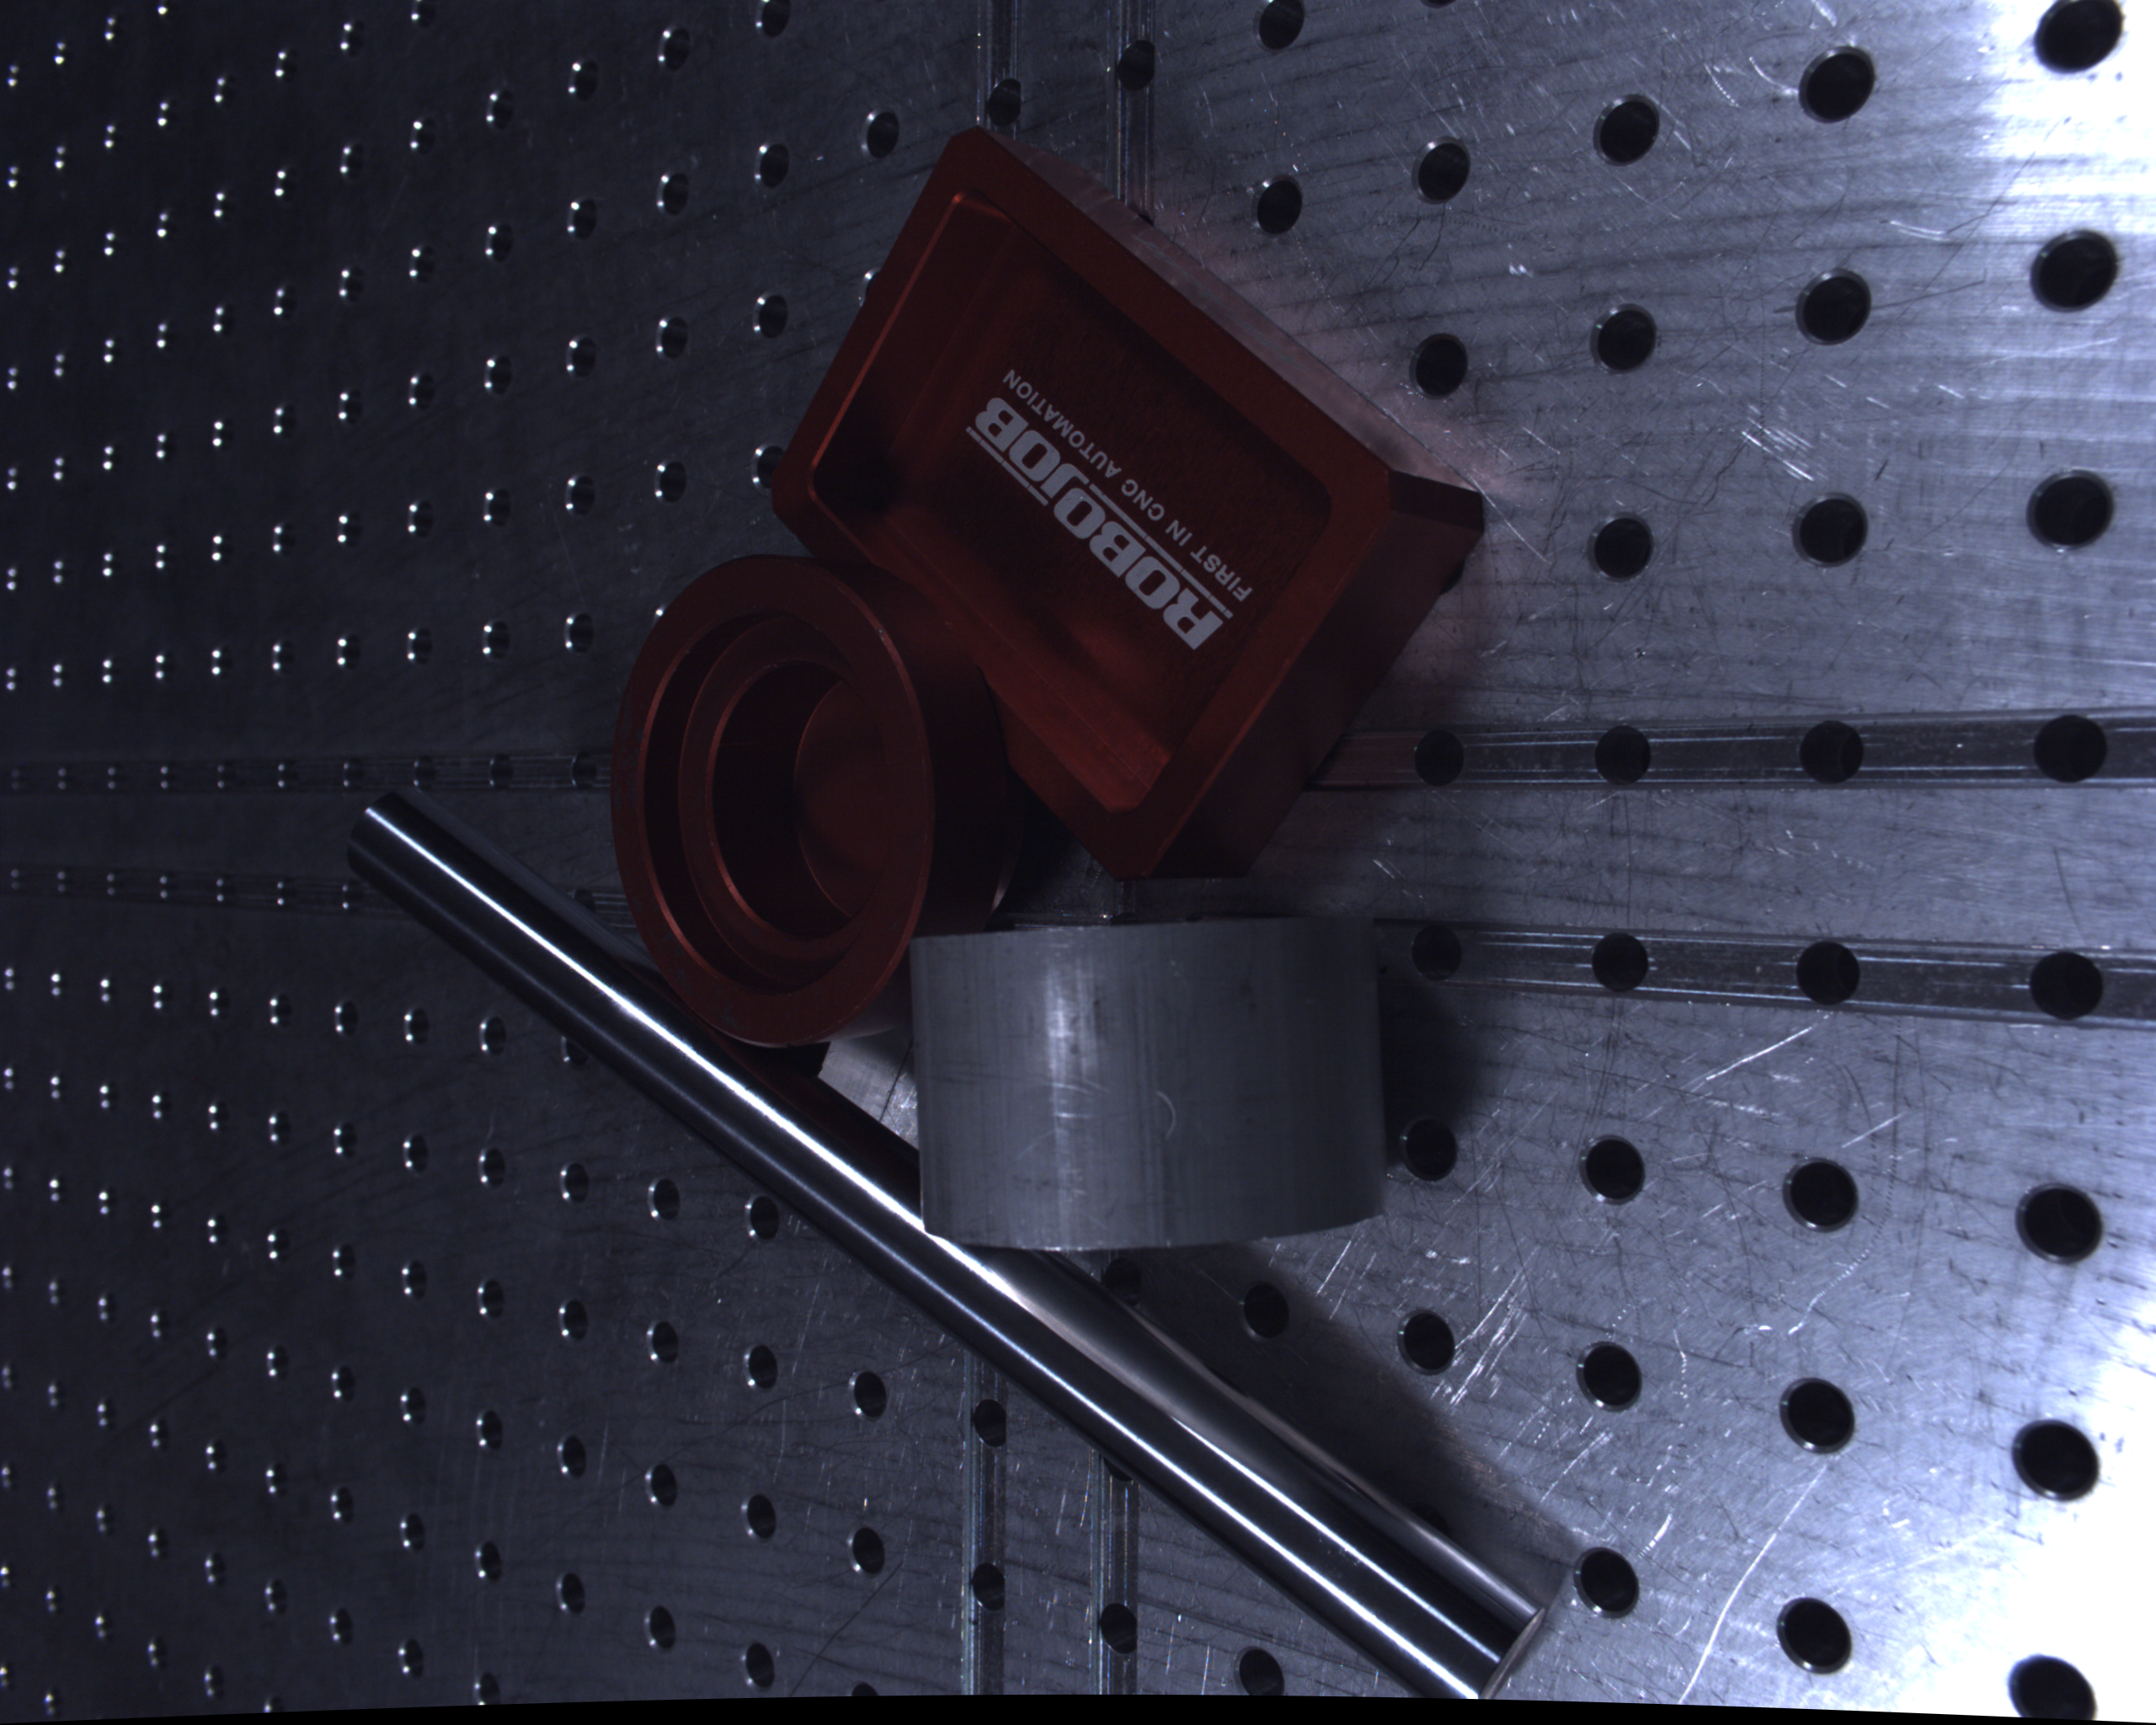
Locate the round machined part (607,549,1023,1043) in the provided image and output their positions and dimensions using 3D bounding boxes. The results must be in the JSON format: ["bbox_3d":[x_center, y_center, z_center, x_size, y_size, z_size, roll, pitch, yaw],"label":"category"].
[{"bbox_3d":[-0.050,-0.013,0.427,0.098,0.042,0.097,0,90,41],"label":"round machined part"}]

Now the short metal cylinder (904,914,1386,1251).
[{"bbox_3d":[0.011,0.036,0.361,0.080,0.081,0.050,-5,87,39],"label":"short metal cylinder"}]

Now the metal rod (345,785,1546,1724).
[{"bbox_3d":[-0.043,0.064,0.416,0.300,0.025,0.025,32,110,26],"label":"metal rod"}]

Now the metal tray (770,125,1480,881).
[{"bbox_3d":[0.003,-0.069,0.401,0.130,0.030,0.089,48,118,29],"label":"metal tray"}]

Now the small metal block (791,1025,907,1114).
[{"bbox_3d":[-0.066,0.038,0.461,0.050,0.025,0.050,35,111,34],"label":"small metal block"}]
